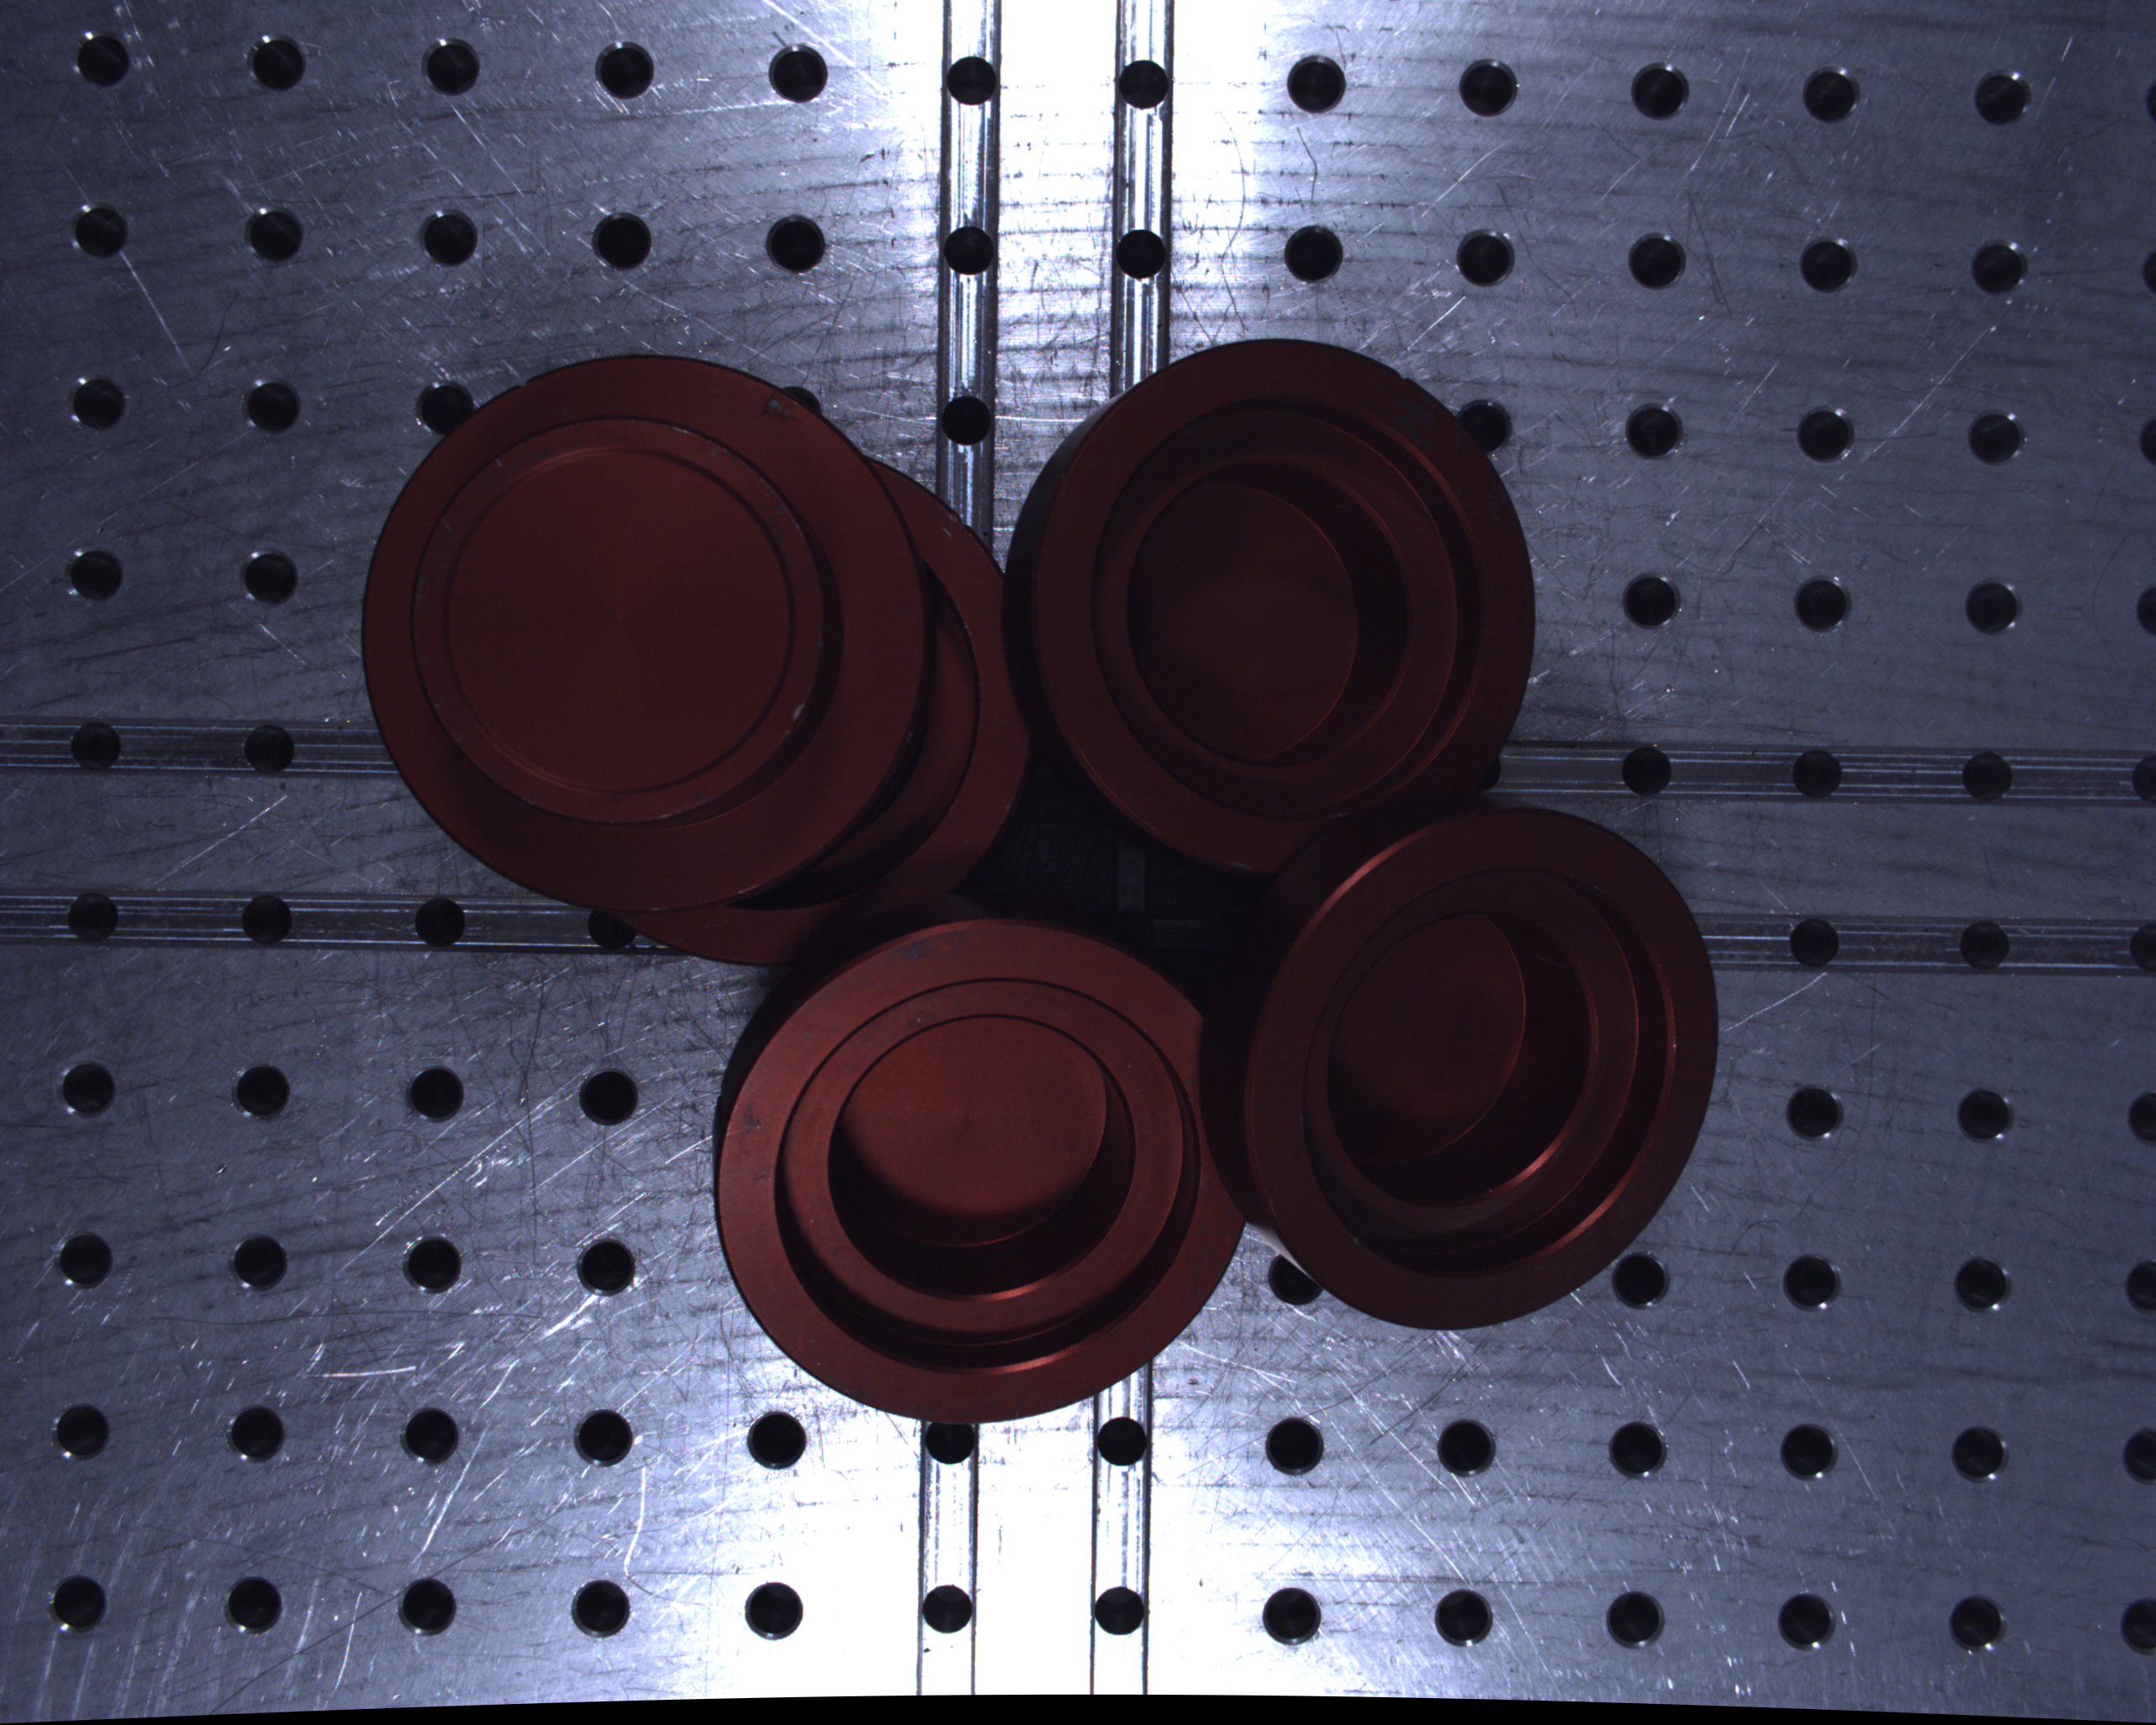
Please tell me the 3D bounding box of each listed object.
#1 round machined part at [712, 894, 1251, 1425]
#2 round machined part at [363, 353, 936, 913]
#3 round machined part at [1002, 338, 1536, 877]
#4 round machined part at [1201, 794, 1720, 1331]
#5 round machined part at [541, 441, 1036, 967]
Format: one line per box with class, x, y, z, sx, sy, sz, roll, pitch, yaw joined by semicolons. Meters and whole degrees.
round machined part;-0.020;0.053;0.396;0.099;0.042;0.097;-3;105;-10
round machined part;-0.075;-0.040;0.361;0.099;0.042;0.097;0;90;-1
round machined part;0.033;-0.046;0.396;0.099;0.042;0.097;0;91;-17
round machined part;0.068;0.035;0.394;0.099;0.042;0.097;-4;102;-21
round machined part;-0.057;-0.030;0.403;0.099;0.042;0.097;0;90;-1
